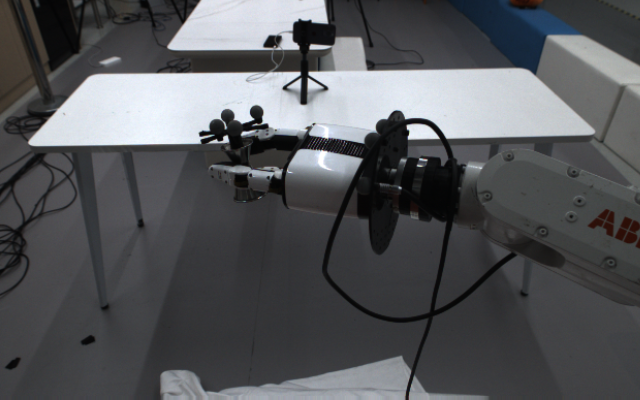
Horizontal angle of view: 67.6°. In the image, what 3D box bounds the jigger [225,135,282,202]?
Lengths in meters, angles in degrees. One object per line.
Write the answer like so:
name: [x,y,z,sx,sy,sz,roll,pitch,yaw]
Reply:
jigger: [-0.090,-0.038,0.595,0.043,0.071,0.043,-10,24,5]
